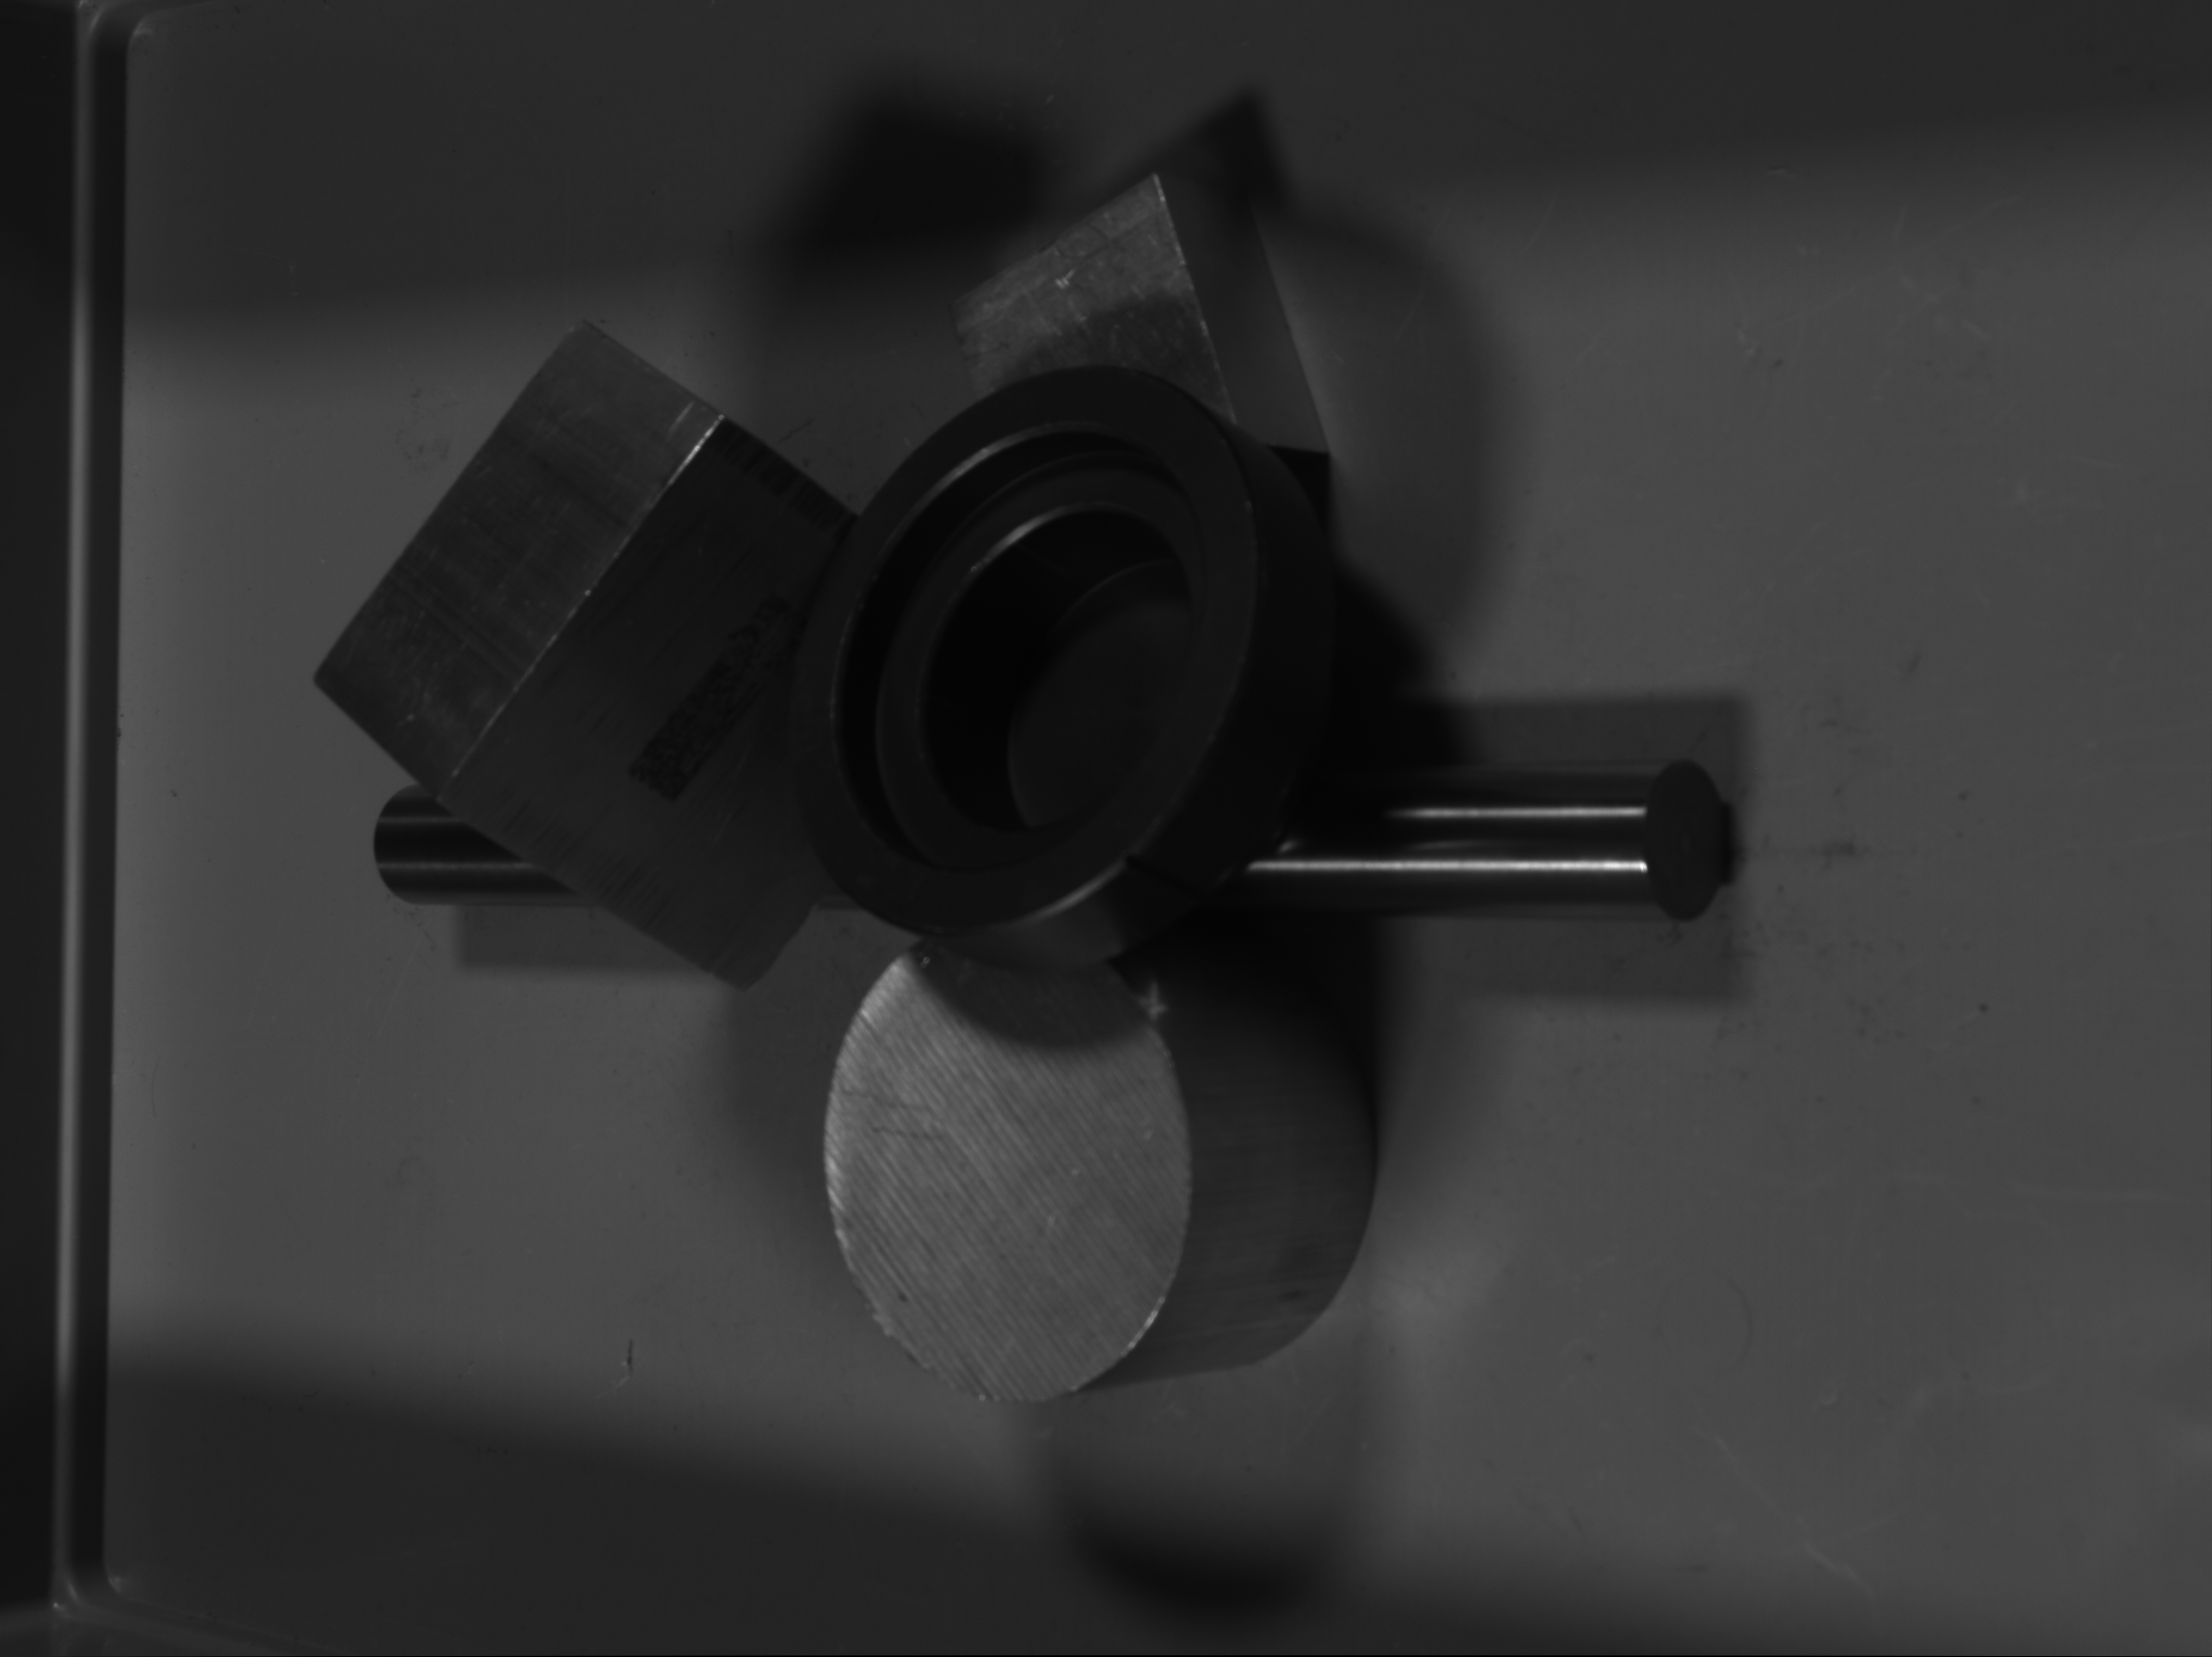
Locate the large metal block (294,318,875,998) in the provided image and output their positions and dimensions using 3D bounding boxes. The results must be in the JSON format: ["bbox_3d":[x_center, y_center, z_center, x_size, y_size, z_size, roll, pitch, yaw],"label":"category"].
[{"bbox_3d":[-0.080,-0.029,0.646,0.080,0.080,0.050,-54,44,-1],"label":"large metal block"}]

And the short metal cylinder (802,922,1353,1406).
[{"bbox_3d":[-0.005,0.055,0.622,0.080,0.050,0.080,0,90,39],"label":"short metal cylinder"}]

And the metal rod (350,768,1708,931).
[{"bbox_3d":[-0.030,0.004,0.657,0.299,0.025,0.025,0,90,39],"label":"metal rod"}]

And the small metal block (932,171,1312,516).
[{"bbox_3d":[0.002,-0.078,0.634,0.050,0.025,0.050,-27,73,36],"label":"small metal block"}]

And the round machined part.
[{"bbox_3d":[-0.005,-0.023,0.604,0.098,0.042,0.098,-16,62,34],"label":"round machined part"}]
